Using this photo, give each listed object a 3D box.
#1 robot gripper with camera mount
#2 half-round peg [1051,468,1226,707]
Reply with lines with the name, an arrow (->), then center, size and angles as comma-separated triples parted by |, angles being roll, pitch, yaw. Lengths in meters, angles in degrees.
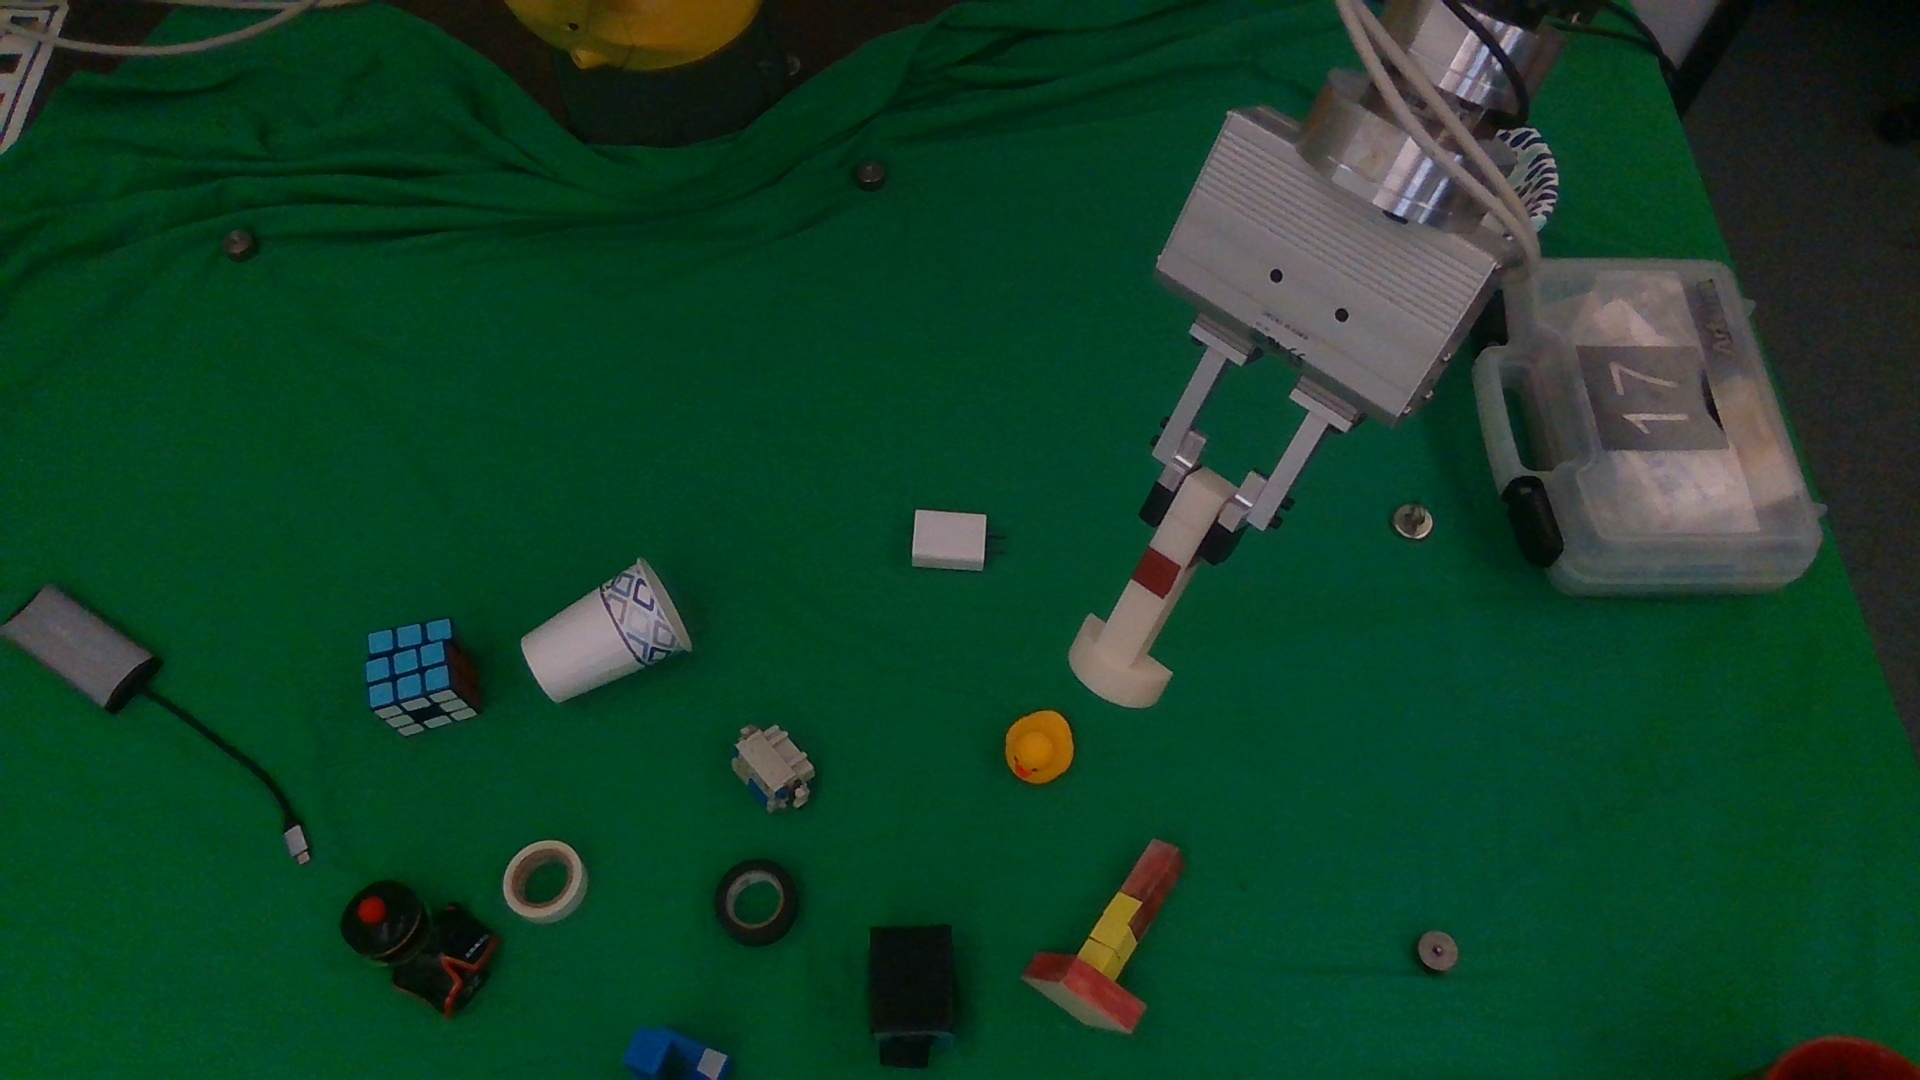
robot gripper with camera mount -> 0.156, -0.088, 0.630 | 0.119, 0.159, 0.193 | 36, 34, 20
half-round peg -> 0.088, 0.021, 0.637 | 0.054, 0.122, 0.031 | 32, 28, 11
